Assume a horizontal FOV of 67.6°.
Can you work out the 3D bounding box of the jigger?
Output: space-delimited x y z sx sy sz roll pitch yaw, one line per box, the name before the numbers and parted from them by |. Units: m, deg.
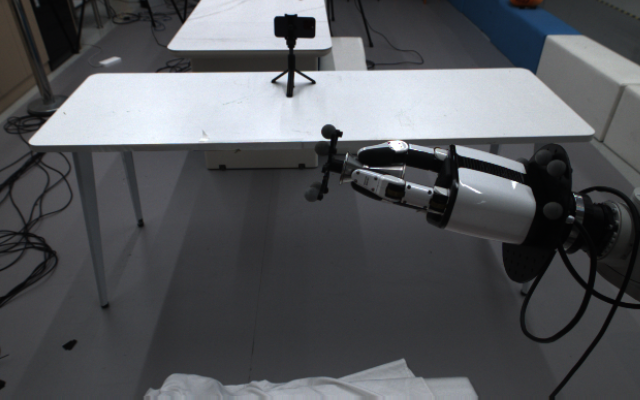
jigger | 0.063 -0.033 0.556 0.071 0.043 0.043 14 36 4
